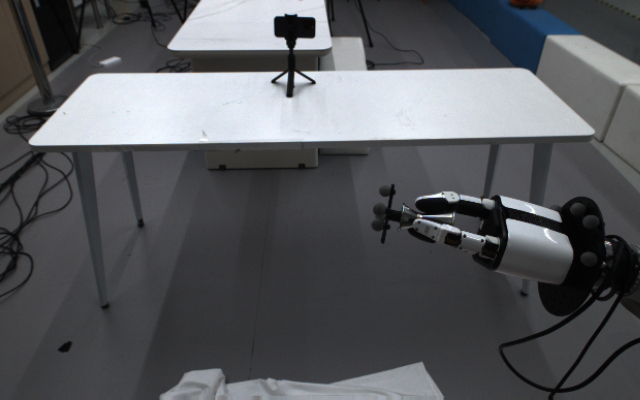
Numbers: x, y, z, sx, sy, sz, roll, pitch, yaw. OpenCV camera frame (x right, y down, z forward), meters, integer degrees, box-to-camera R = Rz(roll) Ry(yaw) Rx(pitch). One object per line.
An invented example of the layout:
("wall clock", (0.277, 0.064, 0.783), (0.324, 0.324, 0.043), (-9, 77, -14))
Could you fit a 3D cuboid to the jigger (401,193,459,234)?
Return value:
("jigger", (0.149, 0.022, 0.652), (0.071, 0.043, 0.043), (9, 35, 9))
